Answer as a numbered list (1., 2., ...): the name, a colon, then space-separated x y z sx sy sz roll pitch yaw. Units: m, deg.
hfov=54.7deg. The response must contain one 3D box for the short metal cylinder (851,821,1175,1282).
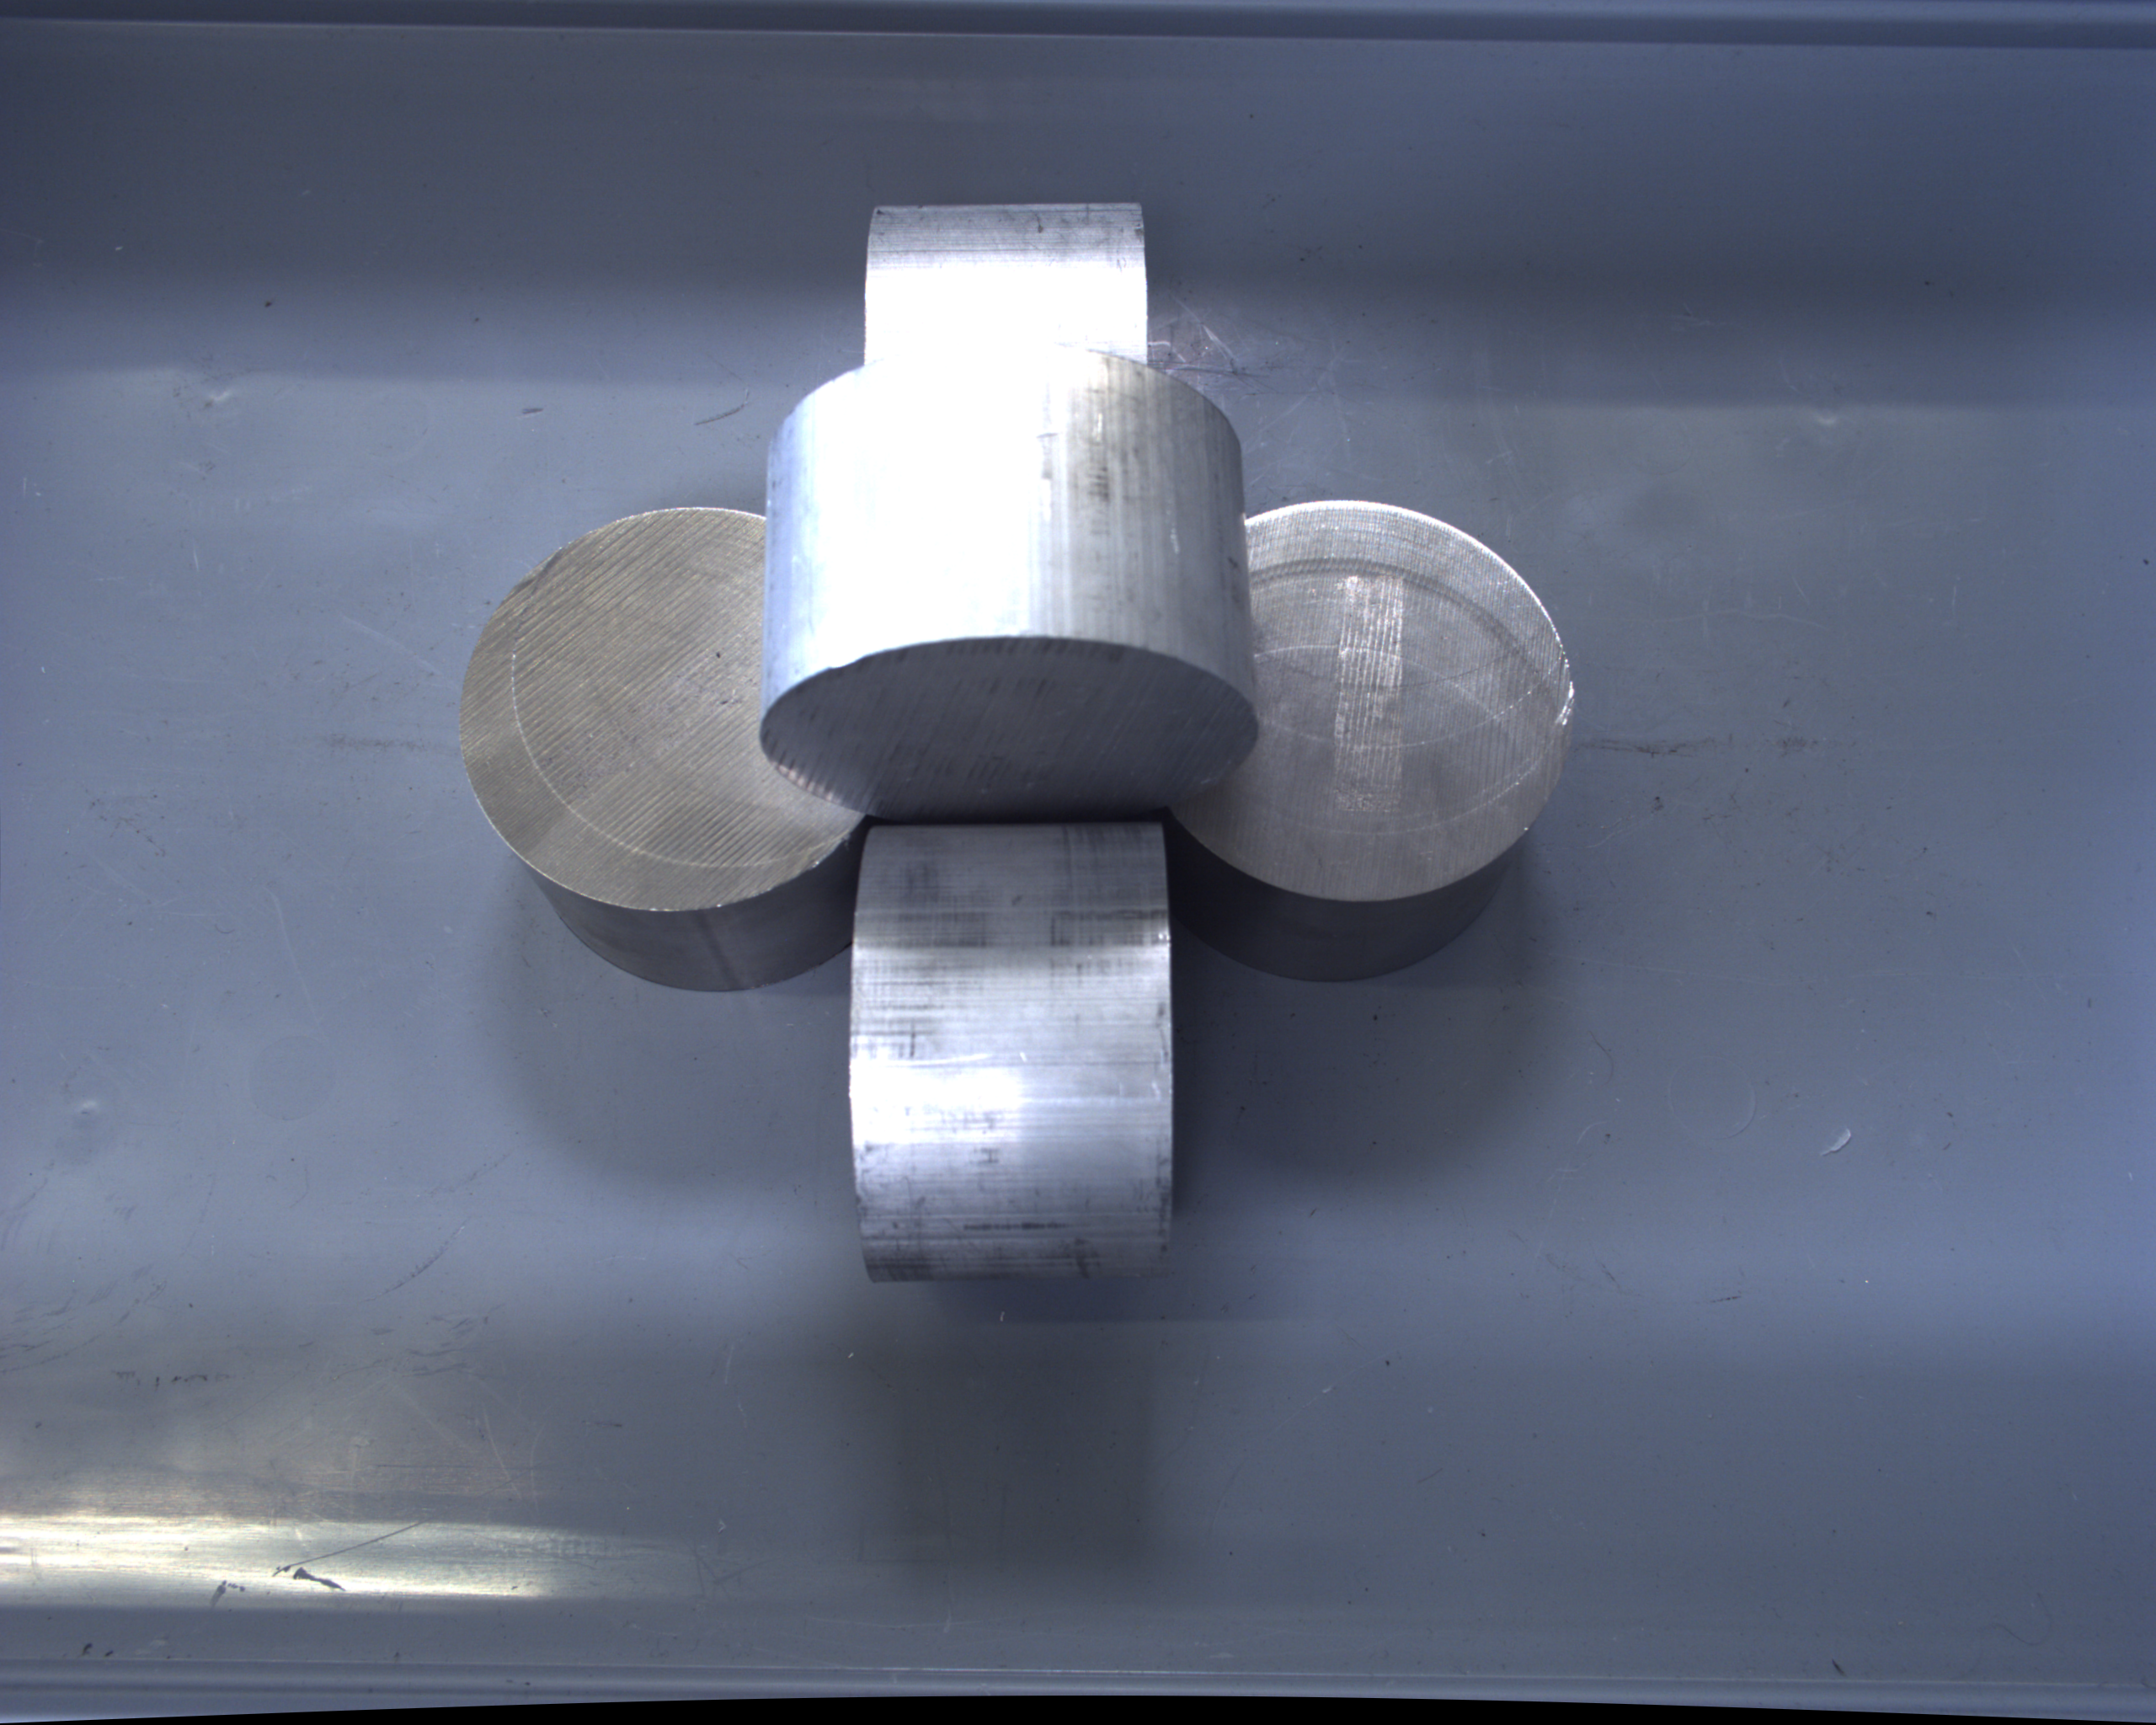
1. short metal cylinder: -0.011 0.033 0.366 0.050 0.080 0.080 -2 70 -1

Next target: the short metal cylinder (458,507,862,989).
1. short metal cylinder: -0.072 -0.021 0.401 0.081 0.050 0.080 0 70 0

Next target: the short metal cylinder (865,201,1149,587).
1. short metal cylinder: -0.013 -0.088 0.410 0.050 0.080 0.080 -2 70 -1

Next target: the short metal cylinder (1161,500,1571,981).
1. short metal cylinder: 0.049 -0.022 0.402 0.081 0.050 0.080 0 70 0

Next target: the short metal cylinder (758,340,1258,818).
1. short metal cylinder: -0.012 -0.043 0.347 0.081 0.080 0.050 -1 70 -1
